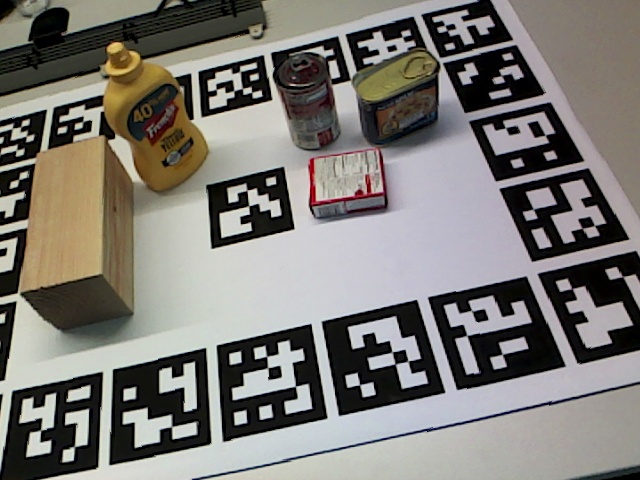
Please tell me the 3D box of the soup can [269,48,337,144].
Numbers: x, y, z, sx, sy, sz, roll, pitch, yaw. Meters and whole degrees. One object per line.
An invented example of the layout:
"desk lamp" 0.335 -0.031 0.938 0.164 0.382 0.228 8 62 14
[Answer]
"soup can" -0.019 -0.176 0.768 0.068 0.101 0.068 -6 56 8

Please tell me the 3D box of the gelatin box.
"gelatin box" 0.028 -0.066 0.730 0.089 0.030 0.073 -7 56 11

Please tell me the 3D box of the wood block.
"wood block" -0.281 -0.009 0.727 0.091 0.089 0.207 -12 50 2

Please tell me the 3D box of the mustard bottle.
"mustard bottle" -0.211 -0.142 0.747 0.096 0.190 0.059 -34 55 -14

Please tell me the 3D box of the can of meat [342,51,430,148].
"can of meat" 0.083 -0.171 0.765 0.102 0.083 0.058 -24 55 -8
